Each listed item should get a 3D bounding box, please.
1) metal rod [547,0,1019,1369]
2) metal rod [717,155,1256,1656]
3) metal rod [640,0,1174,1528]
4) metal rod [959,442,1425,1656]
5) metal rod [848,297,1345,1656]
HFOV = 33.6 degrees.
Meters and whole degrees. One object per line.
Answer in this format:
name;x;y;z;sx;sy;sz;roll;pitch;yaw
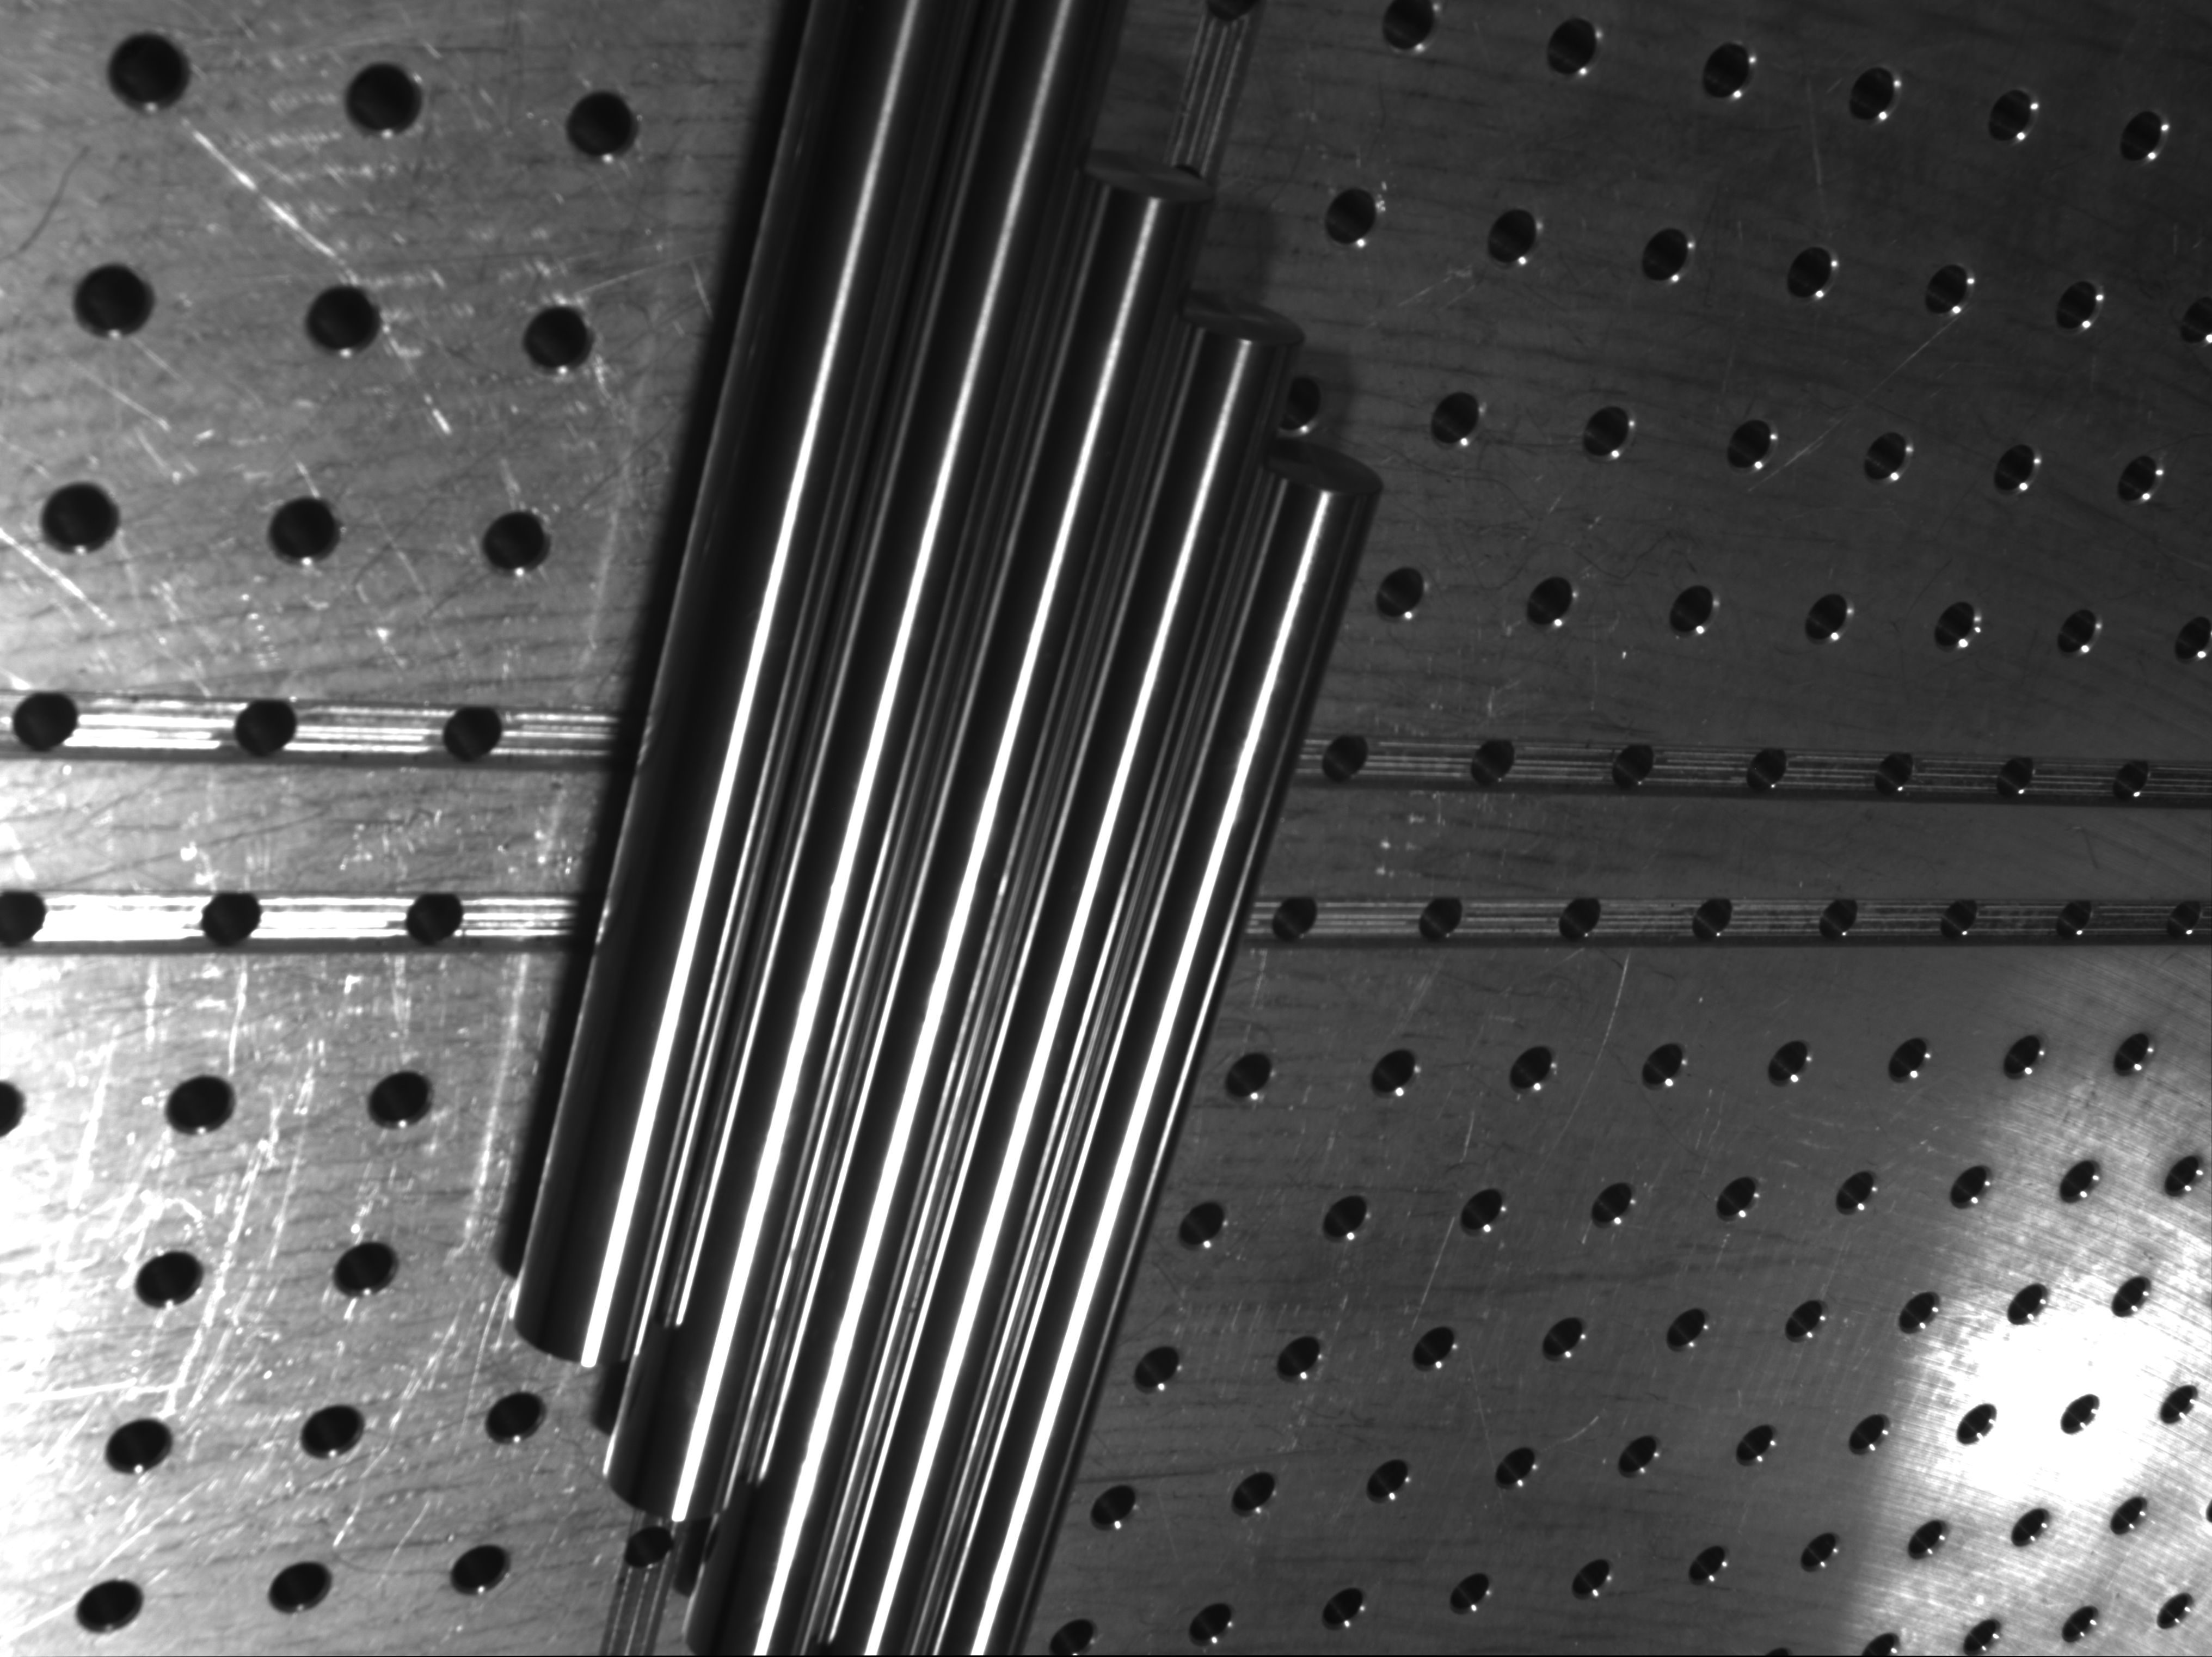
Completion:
metal rod;-0.050;-0.043;0.598;0.025;0.025;0.300;1;118;-31
metal rod;-0.026;0.027;0.655;0.025;0.025;0.300;1;118;-31
metal rod;-0.037;-0.009;0.626;0.025;0.025;0.300;1;118;-31
metal rod;0.006;0.070;0.699;0.025;0.025;0.300;1;118;-31
metal rod;-0.010;0.047;0.676;0.025;0.025;0.300;1;118;-31
